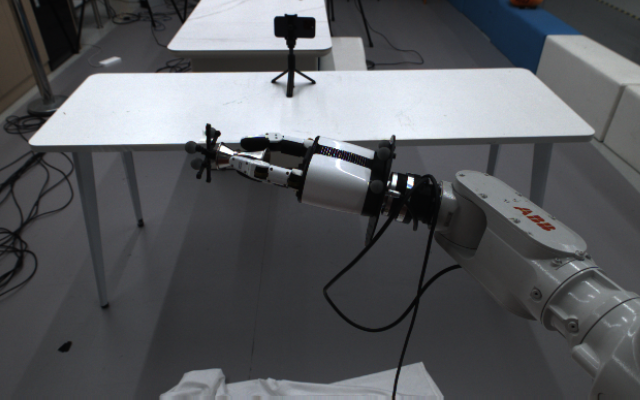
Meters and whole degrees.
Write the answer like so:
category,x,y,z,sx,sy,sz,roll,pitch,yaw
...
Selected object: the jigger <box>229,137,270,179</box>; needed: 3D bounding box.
category,x,y,z,sx,sy,sz,roll,pitch,yaw
jigger,-0.101,-0.062,0.688,0.071,0.043,0.043,8,35,6
